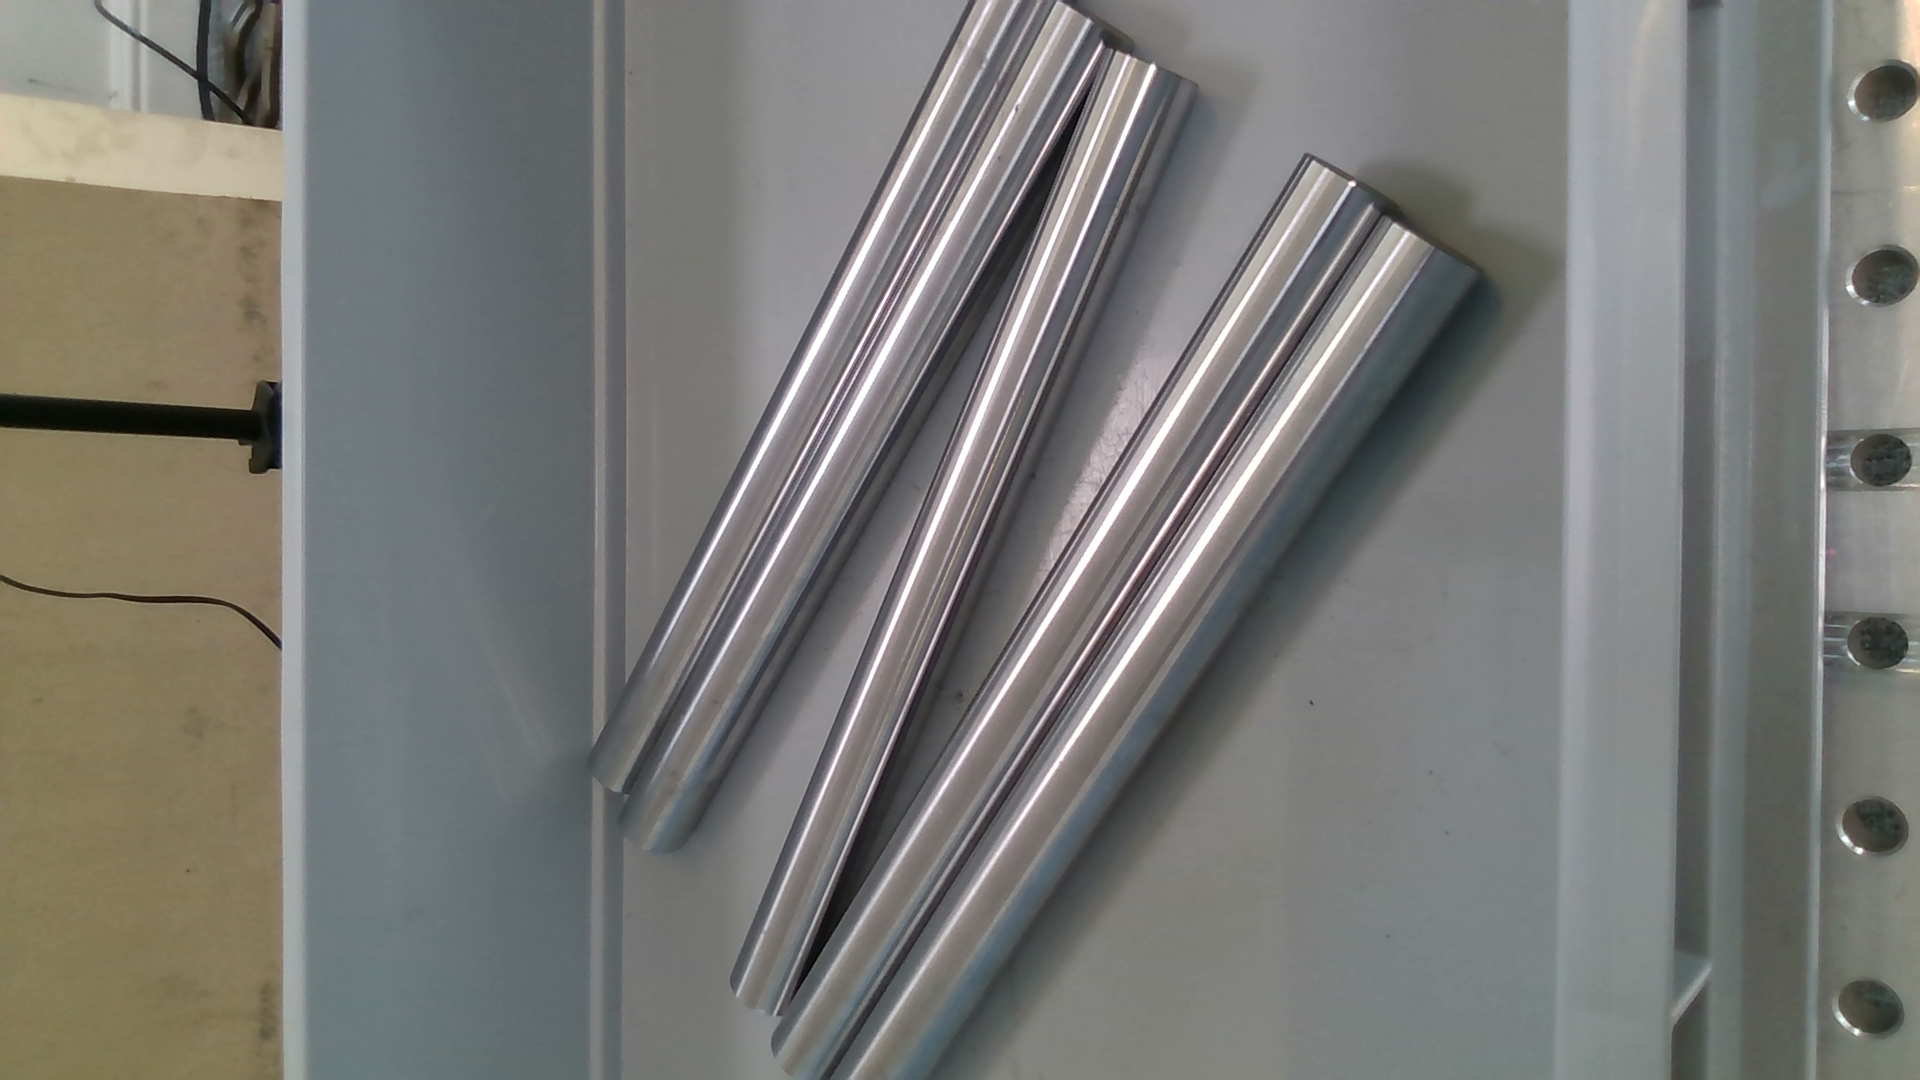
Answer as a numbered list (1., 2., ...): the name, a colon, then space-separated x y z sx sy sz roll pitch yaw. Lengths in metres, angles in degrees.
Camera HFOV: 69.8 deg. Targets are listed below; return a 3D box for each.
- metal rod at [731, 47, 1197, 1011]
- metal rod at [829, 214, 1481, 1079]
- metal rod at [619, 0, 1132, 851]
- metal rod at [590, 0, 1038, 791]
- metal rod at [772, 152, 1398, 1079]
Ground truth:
1. metal rod: -0.007 0.012 0.396 0.025 0.025 0.301 36 113 34
2. metal rod: 0.035 0.055 0.361 0.025 0.025 0.301 44 117 31
3. metal rod: -0.036 -0.018 0.420 0.025 0.025 0.301 46 118 30
4. metal rod: -0.050 -0.036 0.431 0.025 0.025 0.301 46 118 30
5. metal rod: 0.021 0.038 0.373 0.025 0.025 0.301 44 117 31
